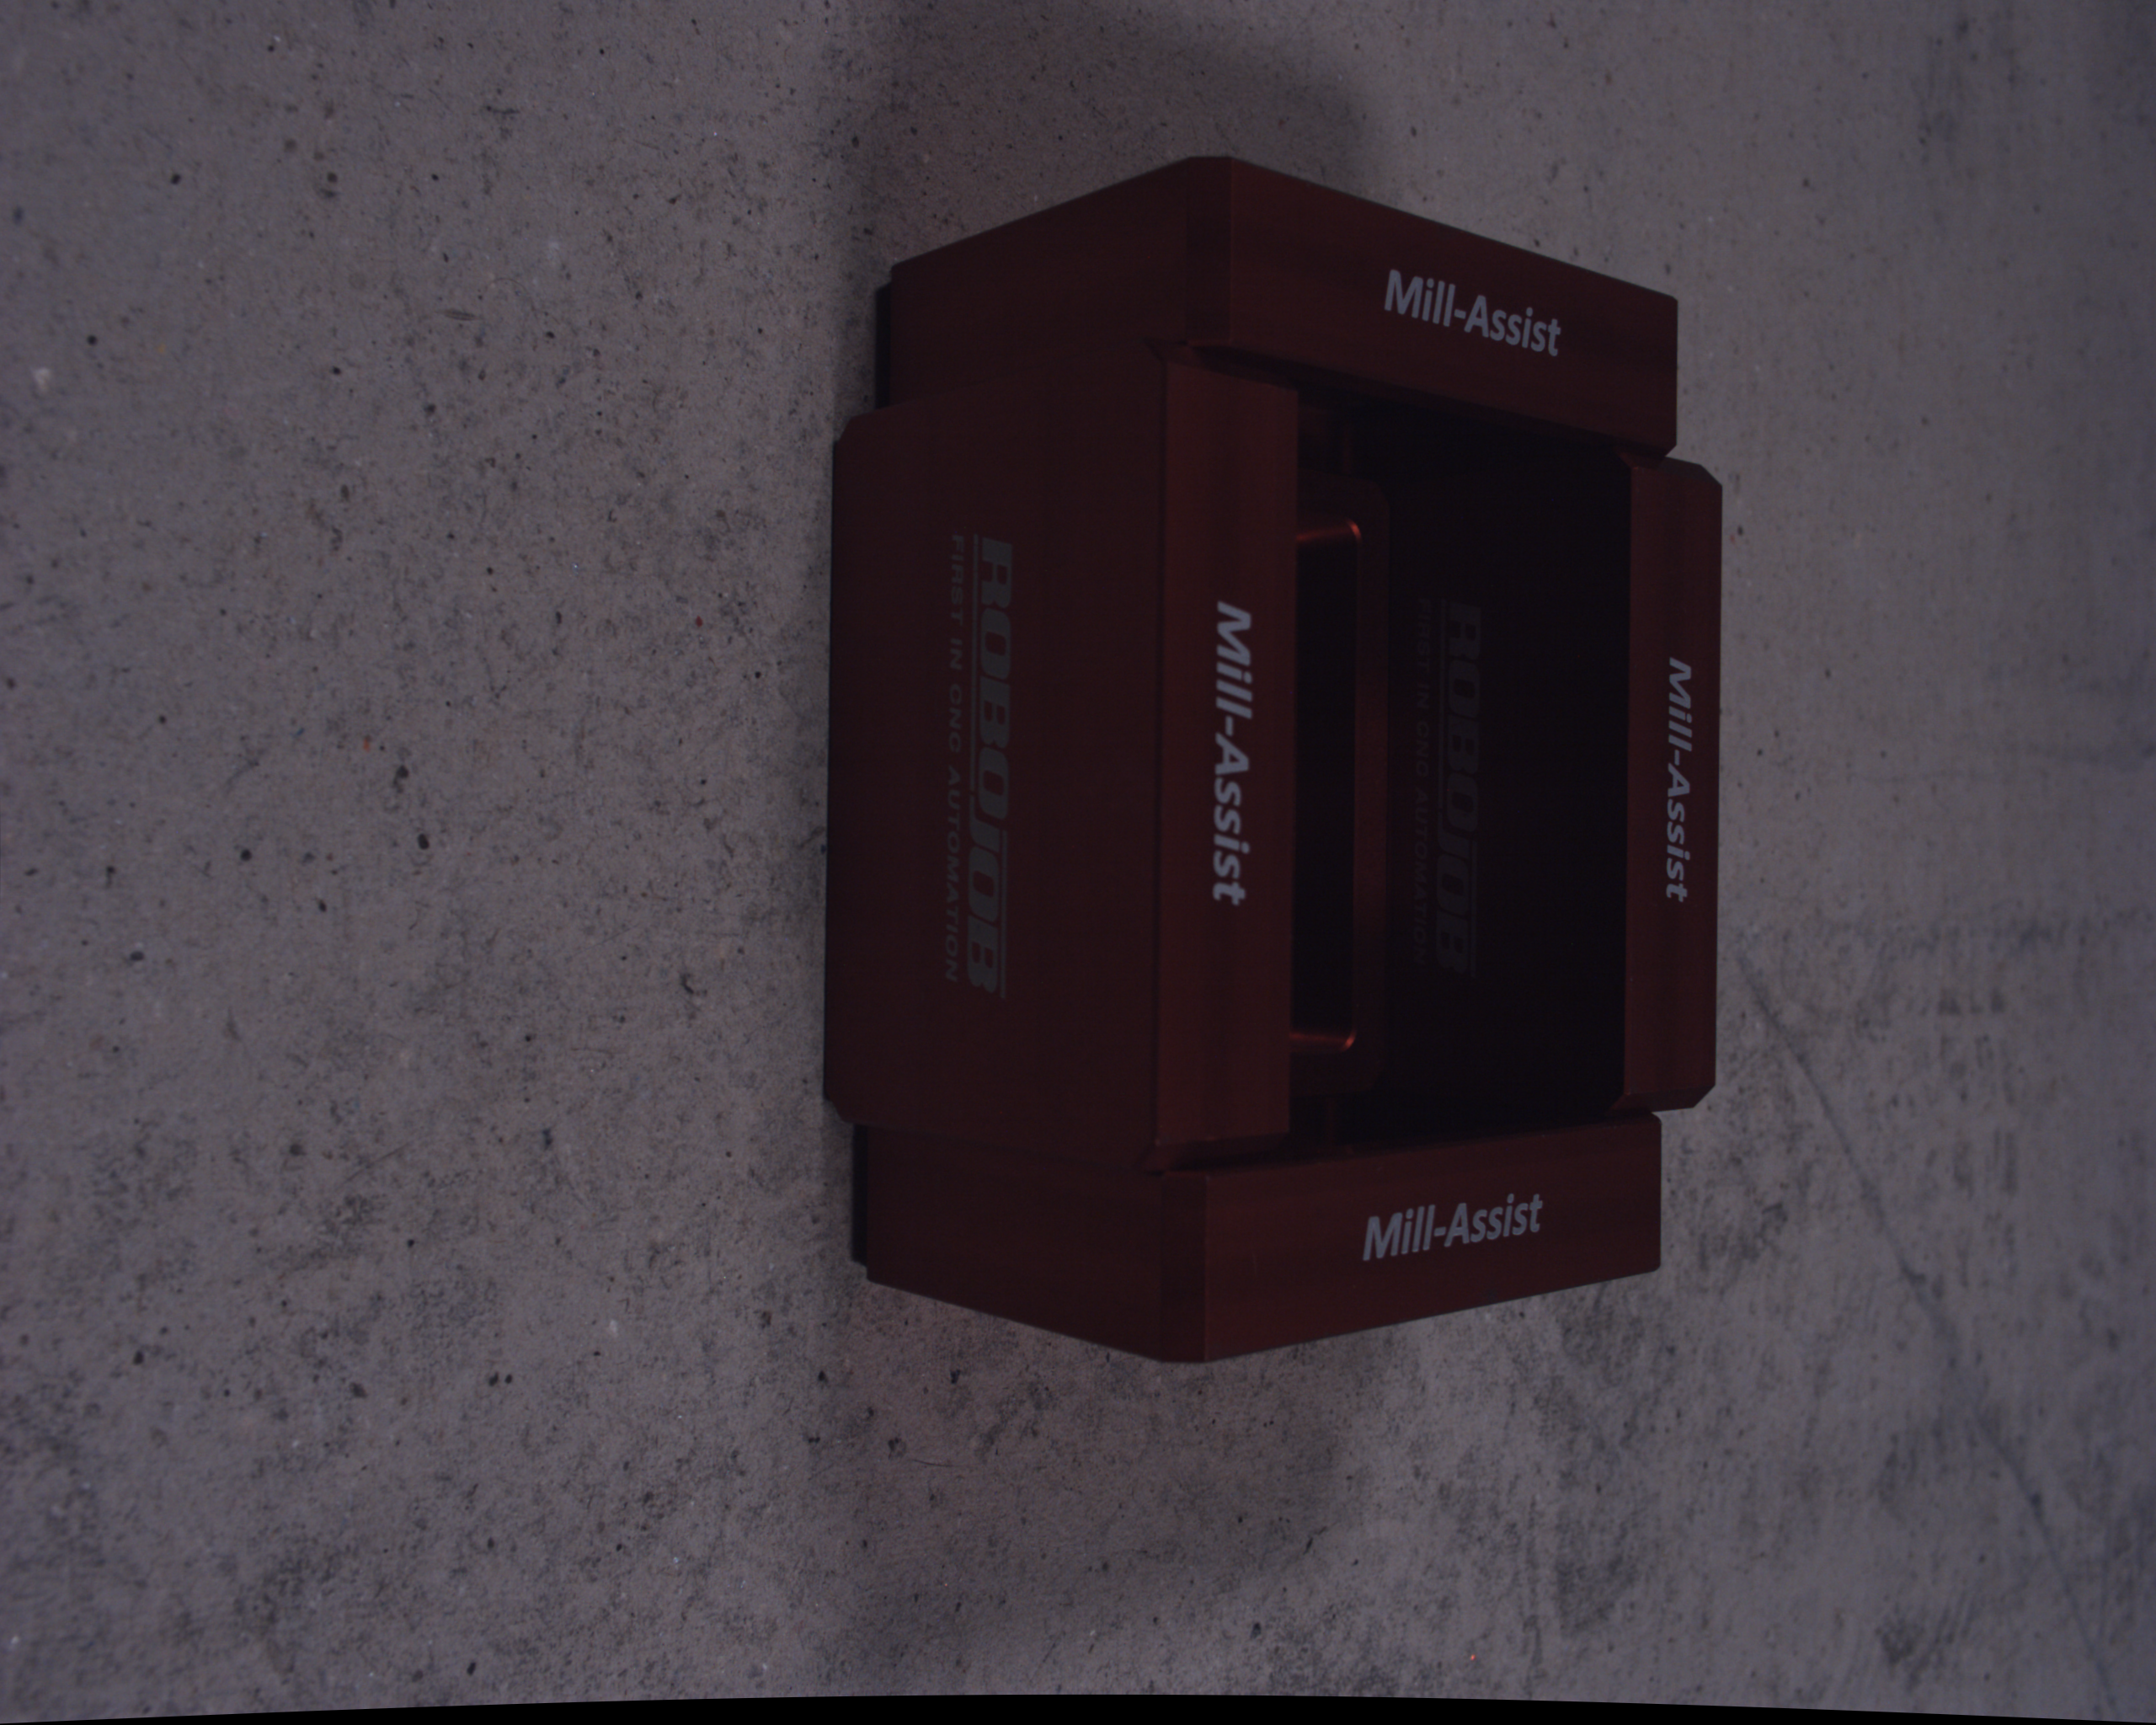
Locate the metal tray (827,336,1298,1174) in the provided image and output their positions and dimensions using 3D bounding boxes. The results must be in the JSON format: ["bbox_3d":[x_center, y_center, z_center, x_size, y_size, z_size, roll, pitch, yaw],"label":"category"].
[{"bbox_3d":[-0.005,-0.017,0.360,0.030,0.090,0.129,1,89,-40],"label":"metal tray"}]

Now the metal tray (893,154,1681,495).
[{"bbox_3d":[0.042,-0.096,0.400,0.131,0.090,0.030,1,90,-40],"label":"metal tray"}]

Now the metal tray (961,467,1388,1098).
[{"bbox_3d":[0.021,-0.017,0.423,0.091,0.030,0.129,1,89,-40],"label":"metal tray"}]

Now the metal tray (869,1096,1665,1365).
[{"bbox_3d":[0.038,0.064,0.397,0.131,0.090,0.030,1,90,-40],"label":"metal tray"}]

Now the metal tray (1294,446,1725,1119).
[{"bbox_3d":[0.088,-0.015,0.439,0.030,0.090,0.129,1,89,-40],"label":"metal tray"}]
